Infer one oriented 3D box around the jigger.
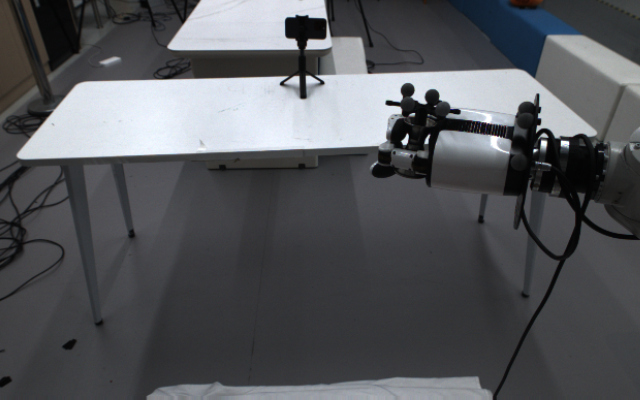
[{"bbox_3d":[0.120,-0.066,0.608,0.043,0.071,0.043,6,26,-3],"label":"jigger"}]
